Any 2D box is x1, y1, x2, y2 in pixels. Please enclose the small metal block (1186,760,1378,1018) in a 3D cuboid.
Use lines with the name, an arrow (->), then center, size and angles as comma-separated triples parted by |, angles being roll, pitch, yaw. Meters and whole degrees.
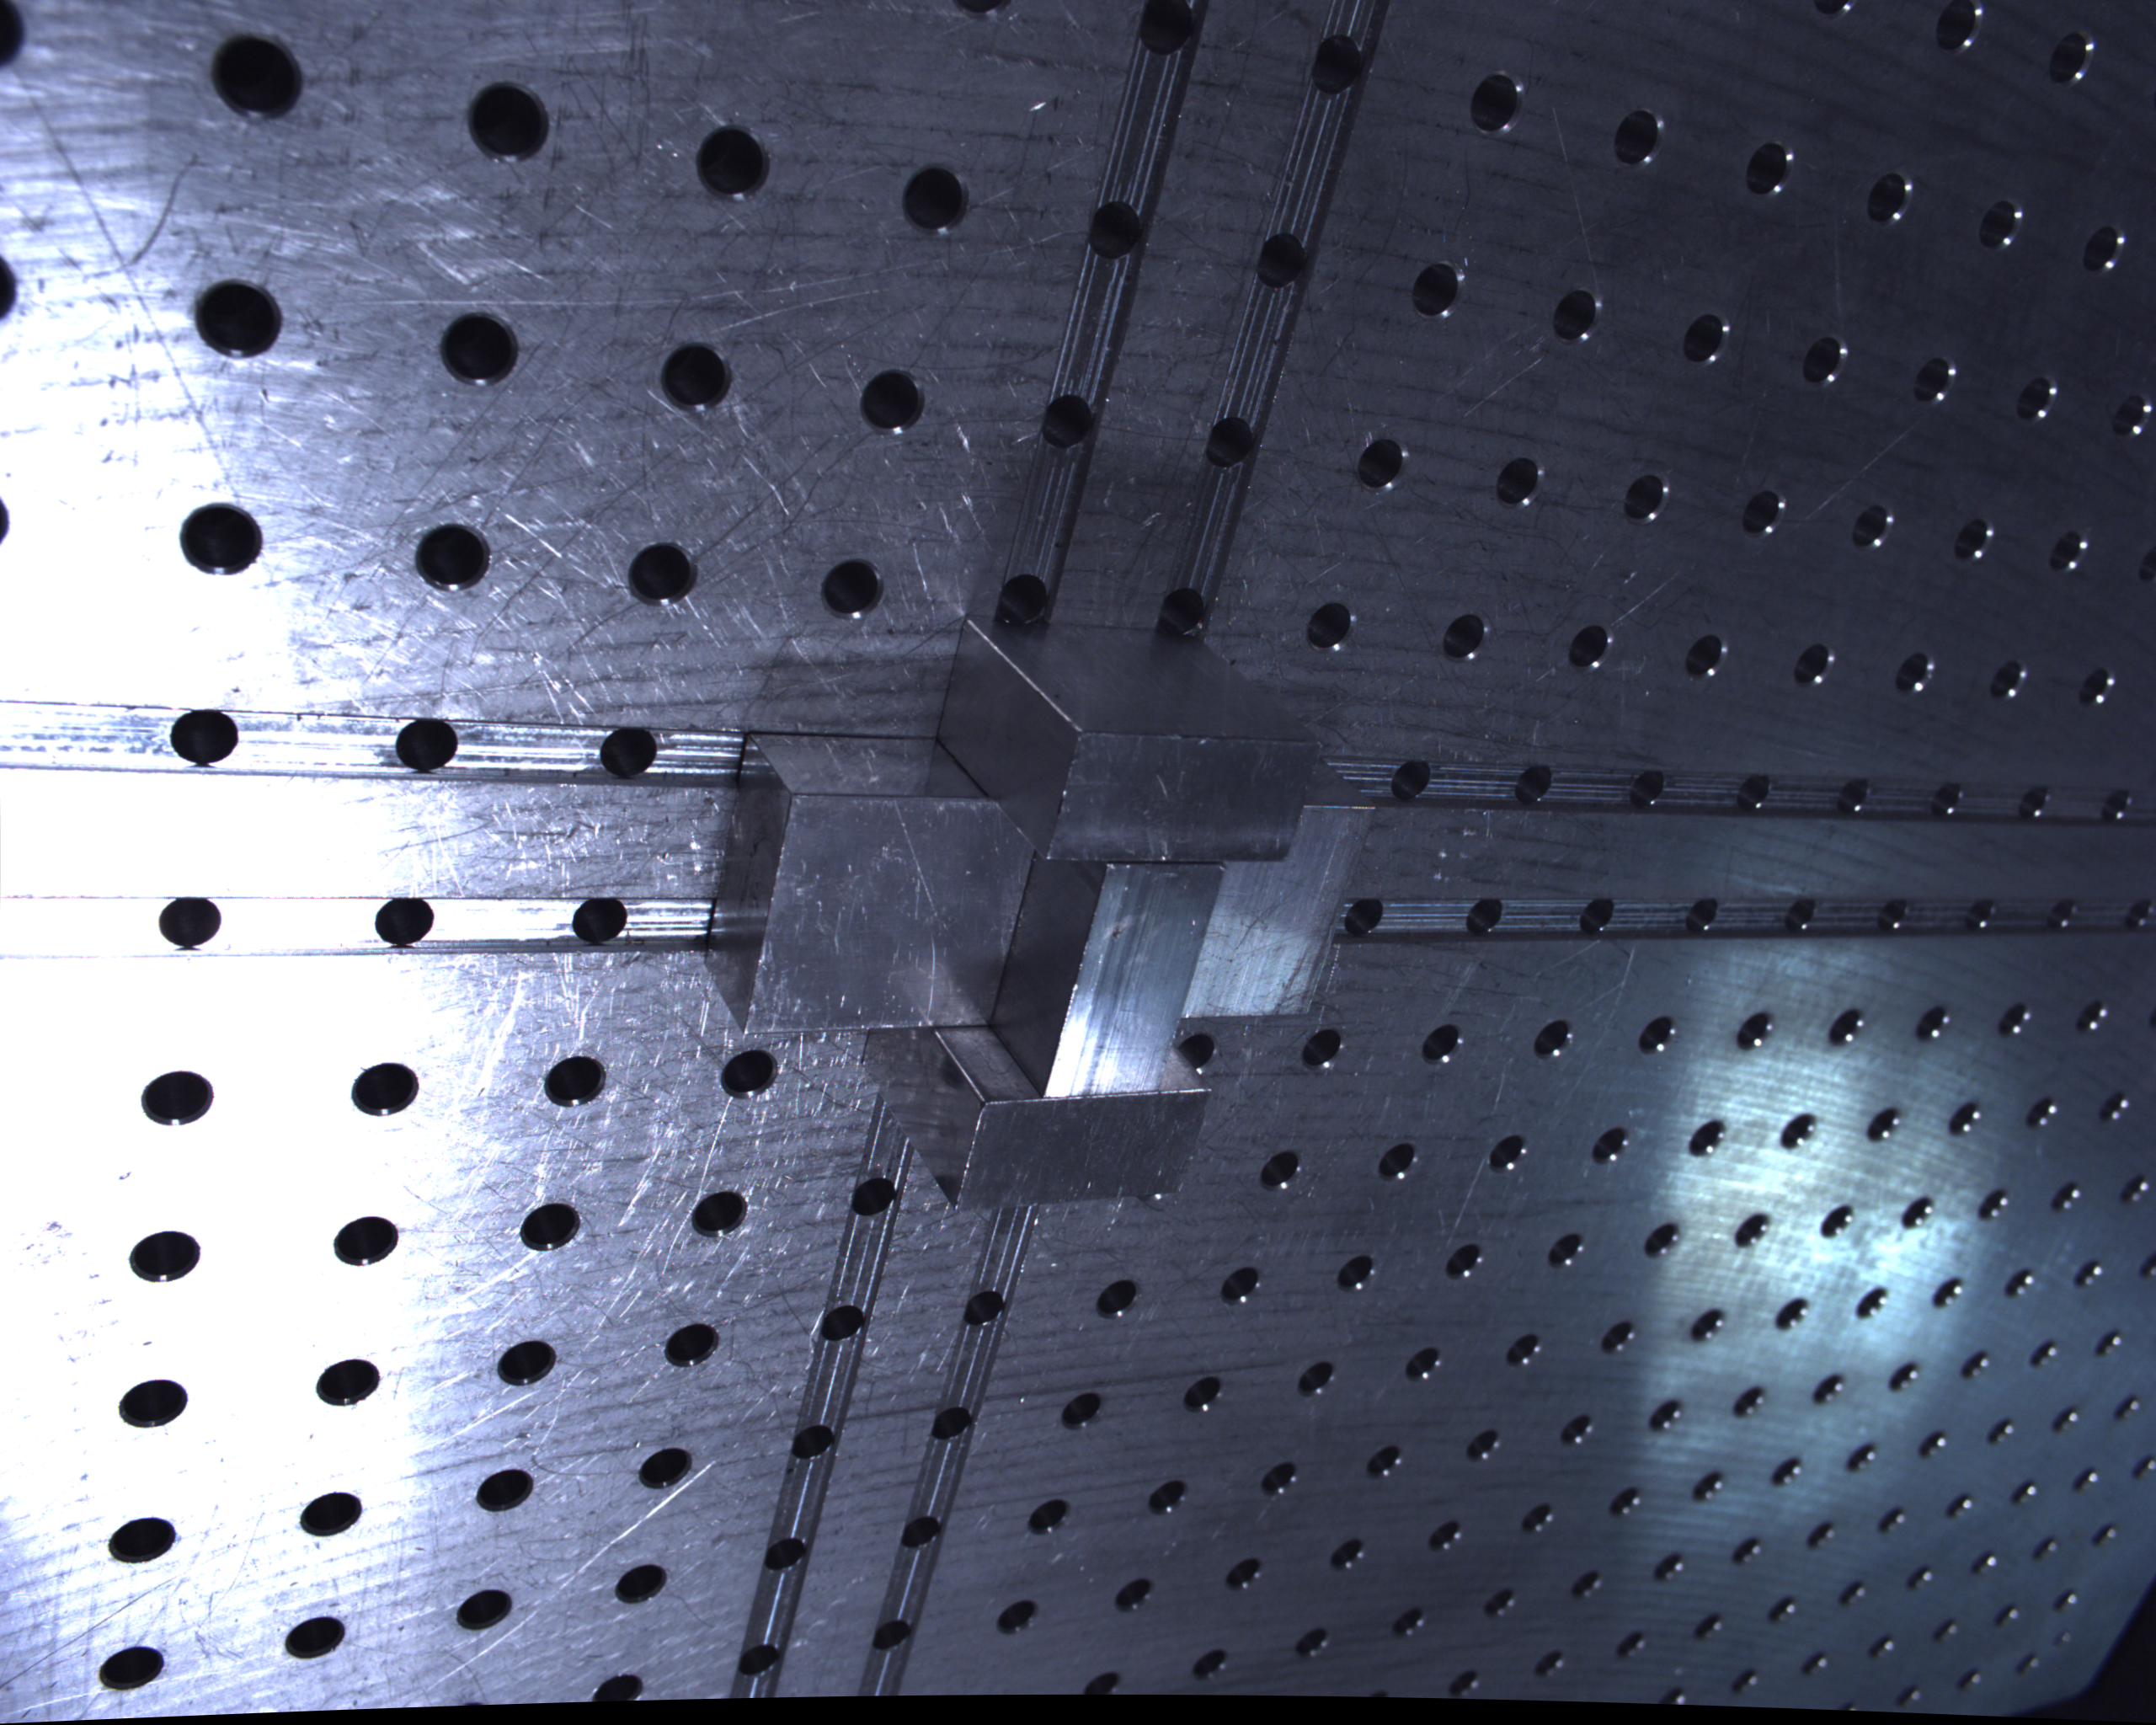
small metal block -> 0.027, 0.004, 0.430 | 0.050, 0.025, 0.050 | 1, 118, -29

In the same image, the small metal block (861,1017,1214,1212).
small metal block -> -0.009, 0.043, 0.418 | 0.050, 0.050, 0.025 | 1, 118, -29

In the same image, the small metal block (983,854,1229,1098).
small metal block -> 0.000, 0.010, 0.402 | 0.025, 0.050, 0.050 | 1, 118, -29

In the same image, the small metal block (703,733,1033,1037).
small metal block -> -0.039, 0.004, 0.393 | 0.050, 0.025, 0.050 | 0, 118, -29

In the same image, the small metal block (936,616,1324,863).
small metal block -> 0.009, -0.023, 0.387 | 0.050, 0.050, 0.025 | 1, 118, -29
